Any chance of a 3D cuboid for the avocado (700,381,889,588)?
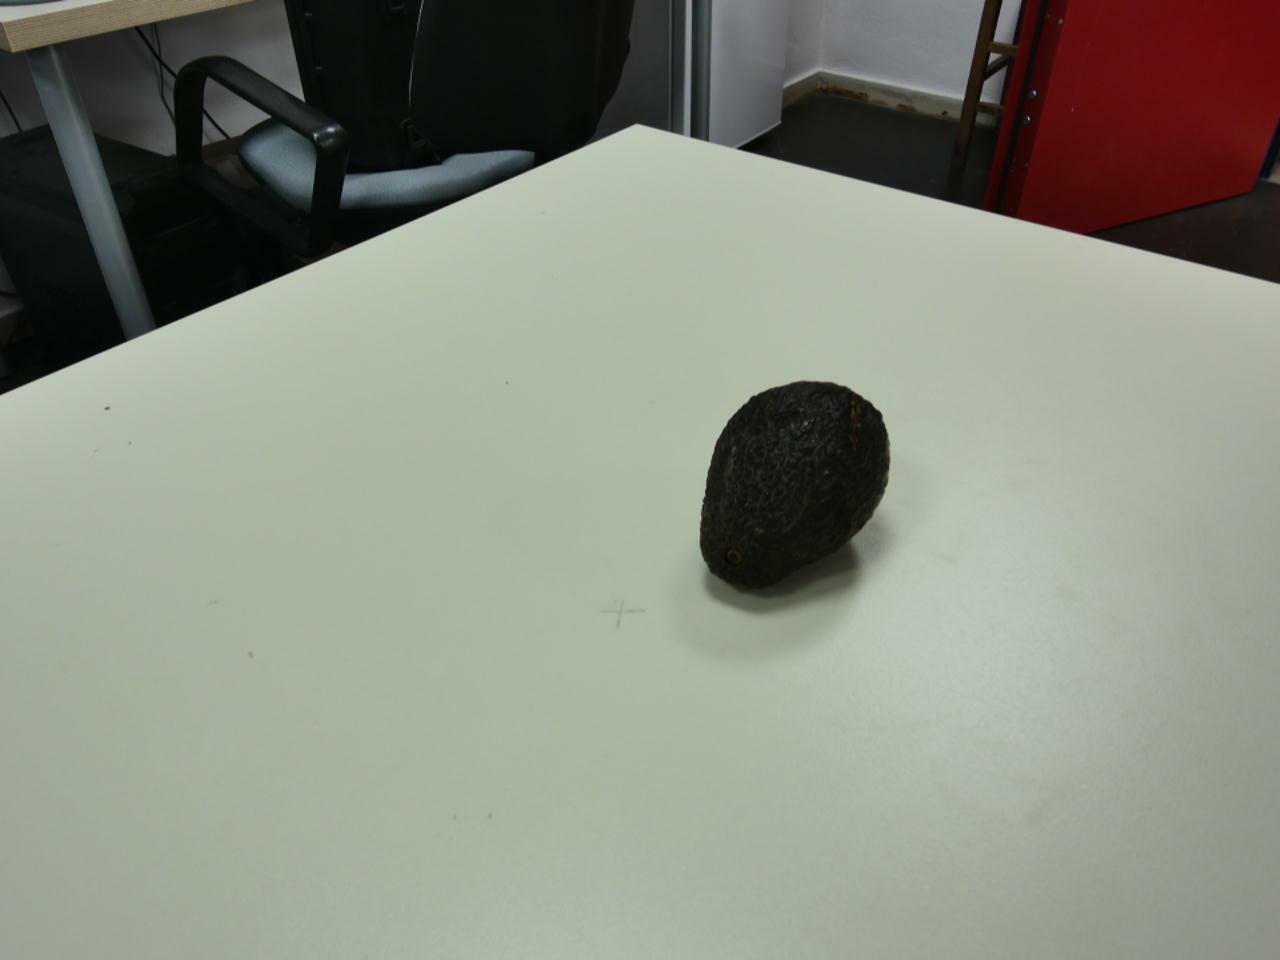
[{"bbox_3d":[0.061,-0.003,0.409,0.090,0.069,0.070,-16,39,-19],"label":"avocado"}]
